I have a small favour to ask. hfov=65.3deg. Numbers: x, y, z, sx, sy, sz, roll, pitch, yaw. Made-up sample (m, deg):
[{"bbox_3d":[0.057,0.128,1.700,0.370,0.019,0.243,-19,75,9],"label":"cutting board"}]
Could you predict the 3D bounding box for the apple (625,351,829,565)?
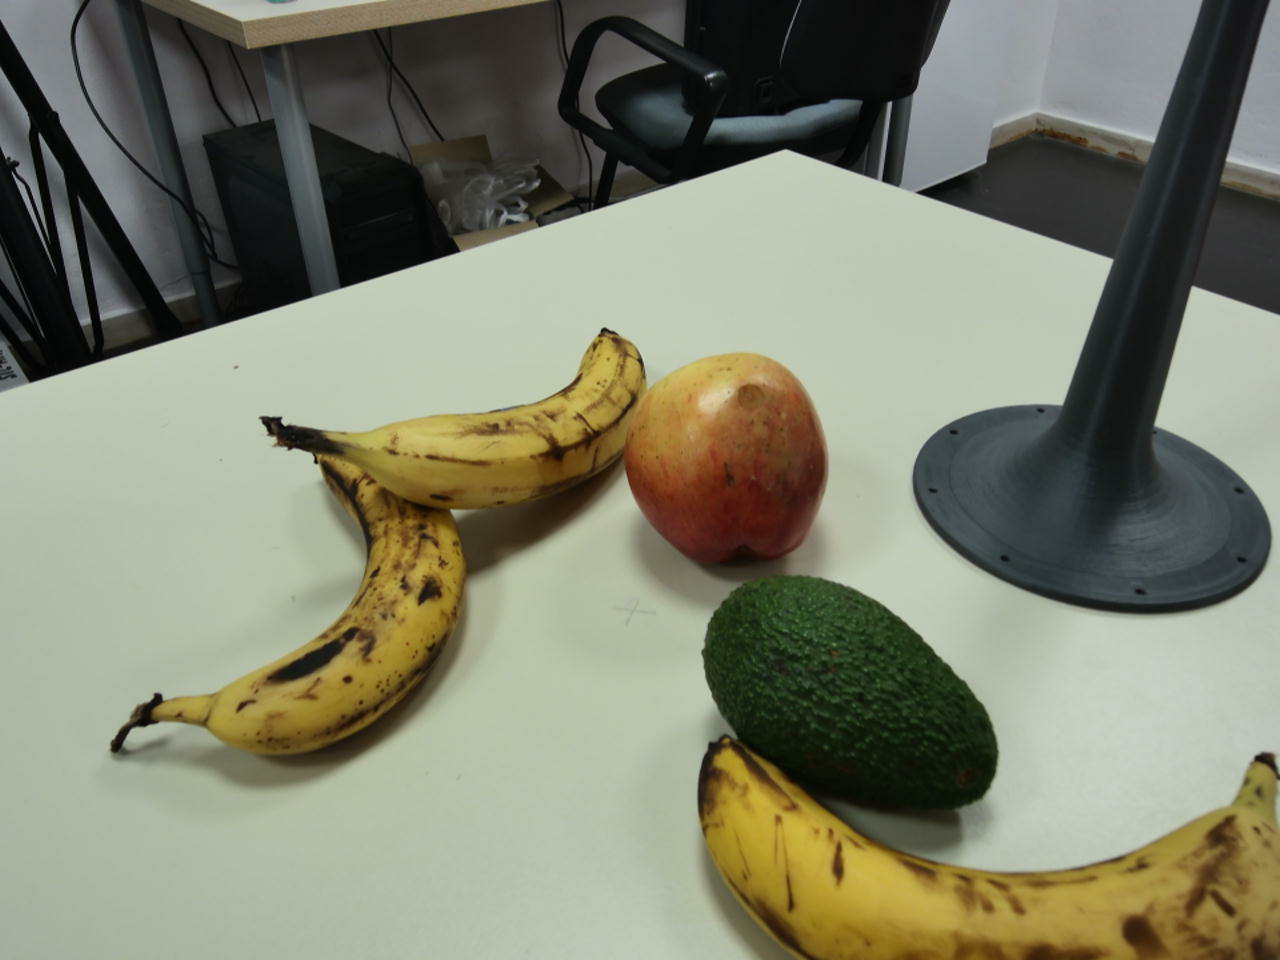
[{"bbox_3d":[0.037,-0.011,0.424,0.086,0.084,0.093,9,36,14],"label":"apple"}]
